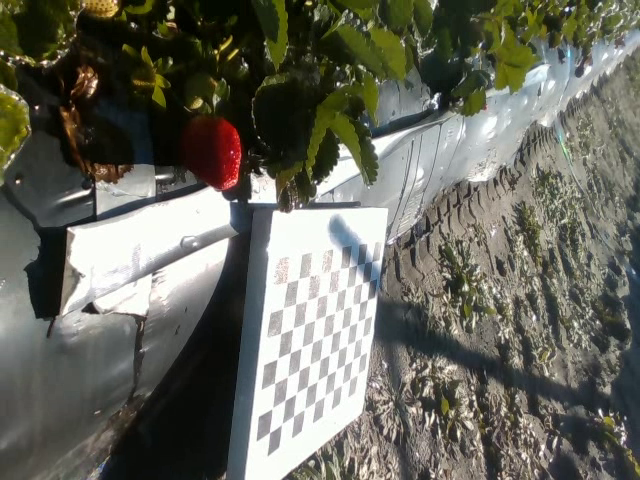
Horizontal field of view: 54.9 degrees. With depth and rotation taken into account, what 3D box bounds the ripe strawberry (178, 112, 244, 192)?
[{"bbox_3d":[-0.078,-0.059,0.470,0.057,0.065,0.062,-28,-33,1],"label":"ripe strawberry"}]
